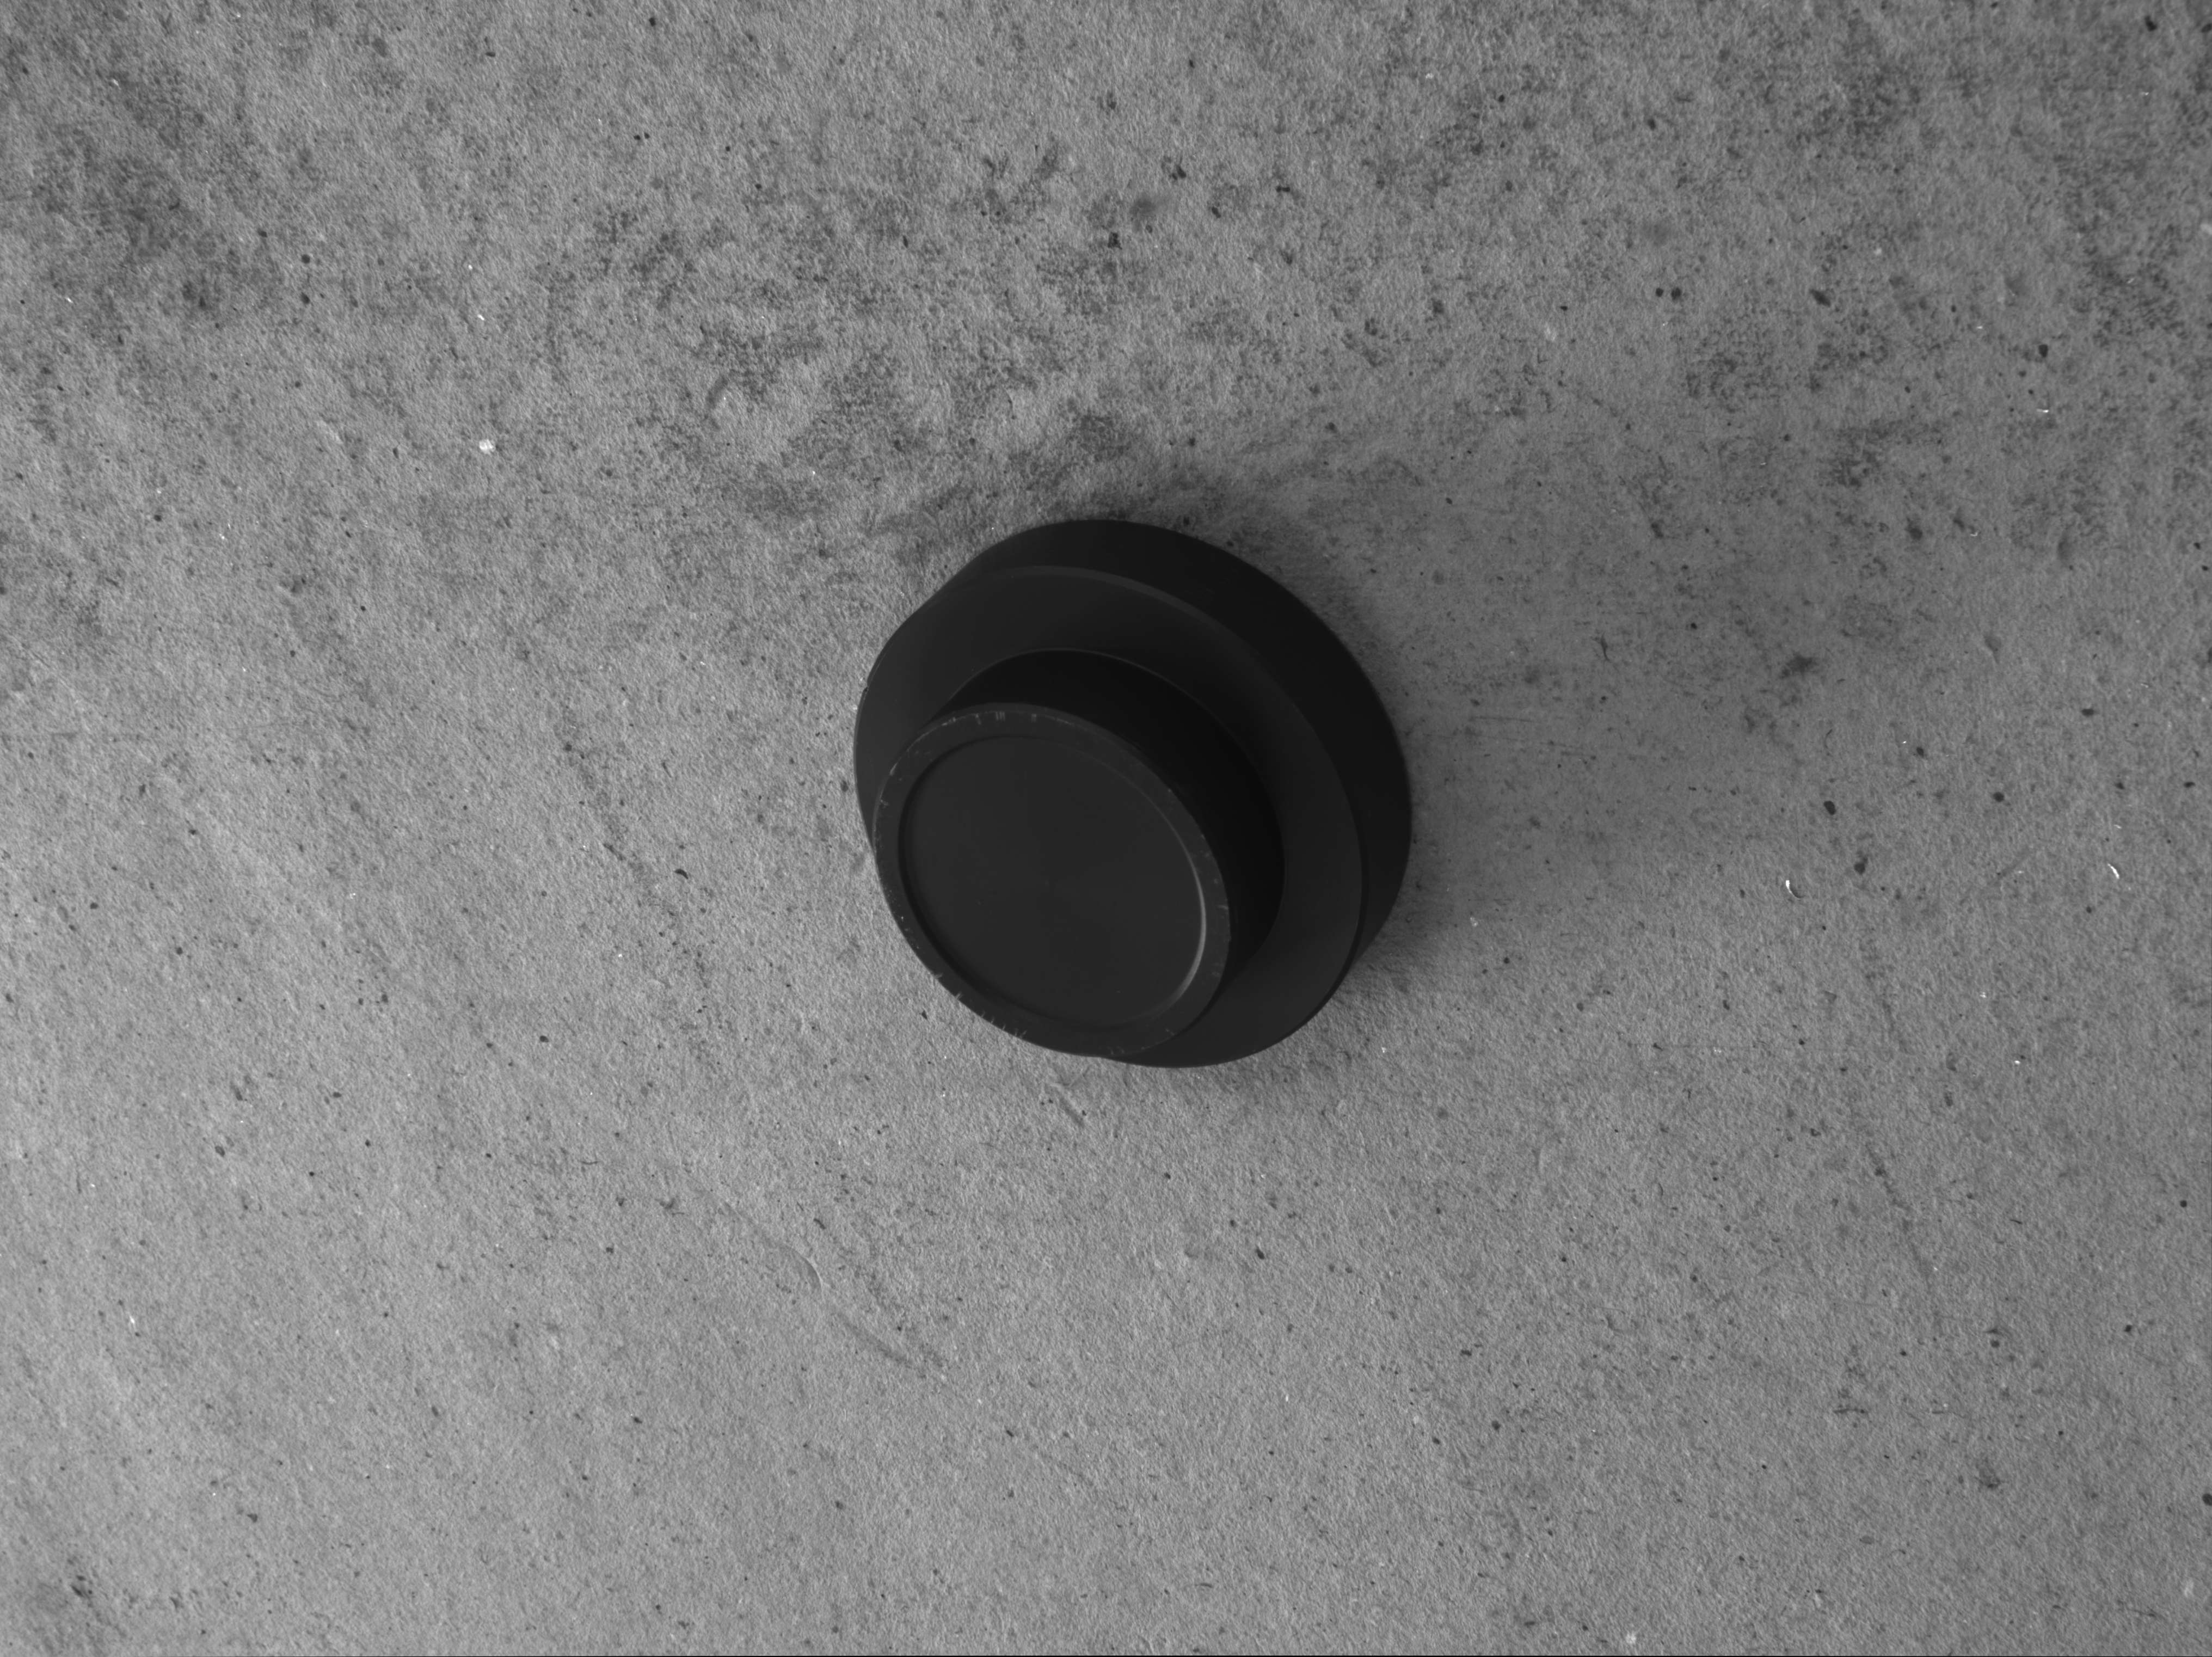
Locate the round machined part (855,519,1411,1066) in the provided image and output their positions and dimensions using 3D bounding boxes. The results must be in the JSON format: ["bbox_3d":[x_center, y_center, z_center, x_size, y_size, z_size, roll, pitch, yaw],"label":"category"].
[{"bbox_3d":[0.000,0.000,0.633,0.098,0.042,0.098,13,124,21],"label":"round machined part"}]
